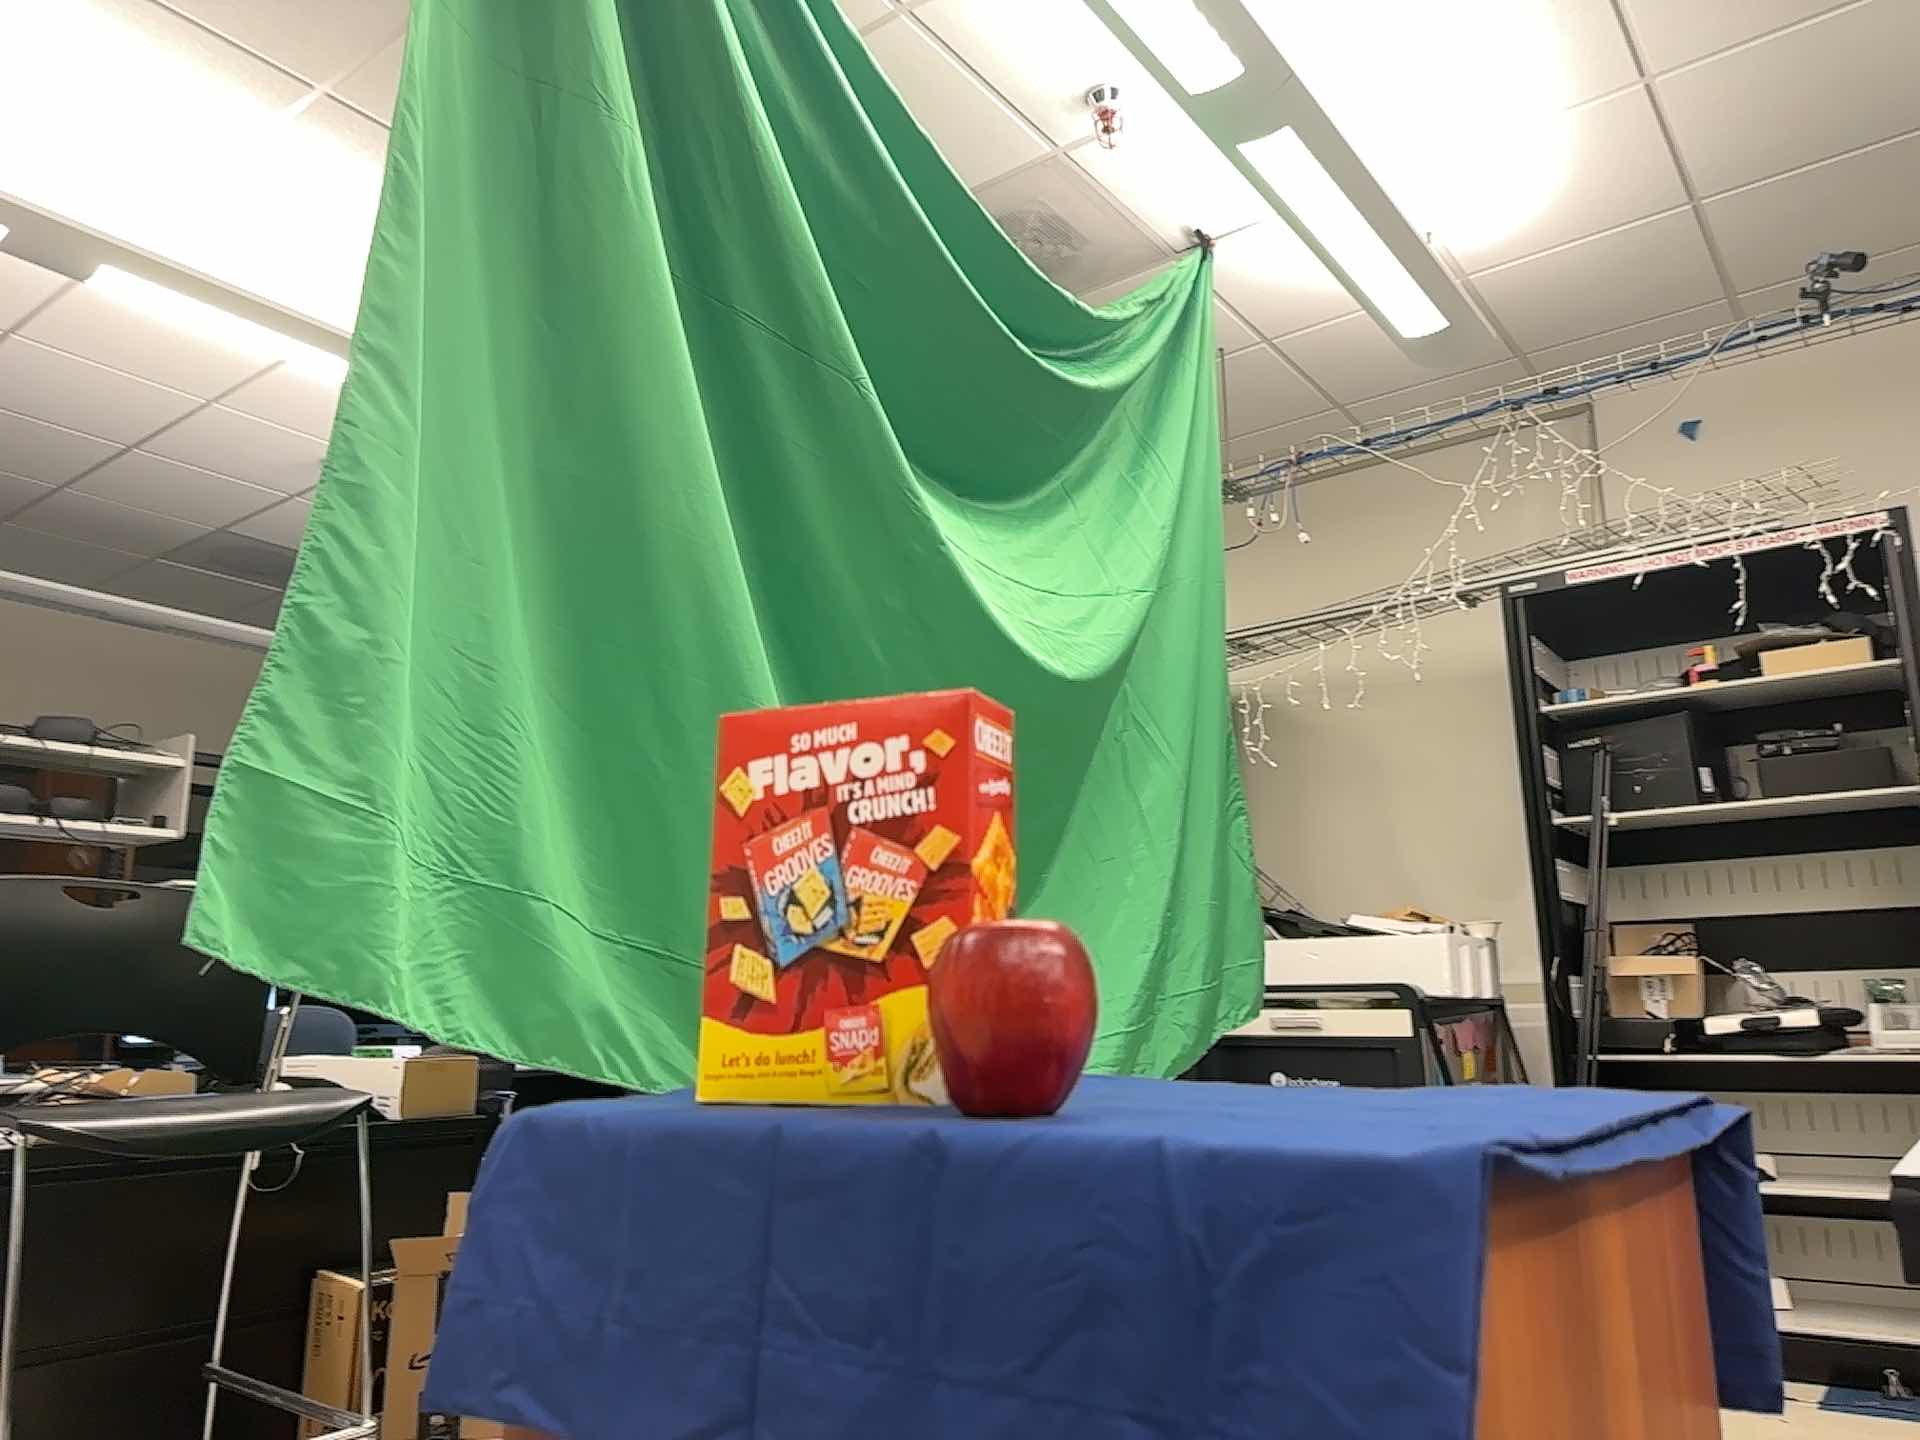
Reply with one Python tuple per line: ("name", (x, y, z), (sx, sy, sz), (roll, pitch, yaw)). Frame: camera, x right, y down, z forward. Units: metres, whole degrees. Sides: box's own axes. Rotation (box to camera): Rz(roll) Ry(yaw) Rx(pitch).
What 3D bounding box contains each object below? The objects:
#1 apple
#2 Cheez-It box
("apple", (0.022, 0.133, 0.618), (0.079, 0.093, 0.079), (-2, -11, -1))
("Cheez-It box", (-0.057, 0.098, 0.741), (0.159, 0.214, 0.062), (-5, -12, 21))
